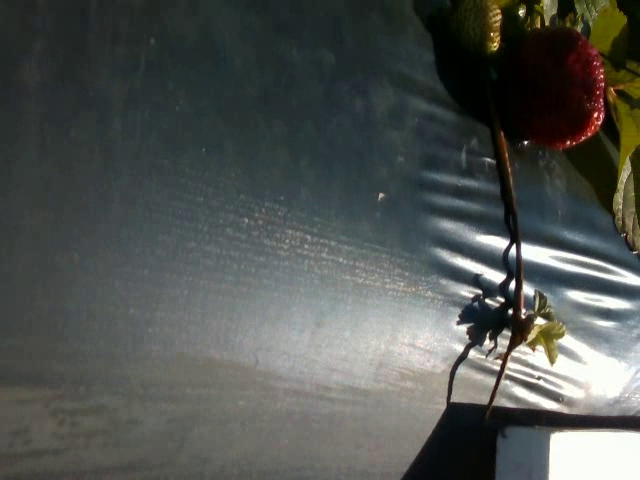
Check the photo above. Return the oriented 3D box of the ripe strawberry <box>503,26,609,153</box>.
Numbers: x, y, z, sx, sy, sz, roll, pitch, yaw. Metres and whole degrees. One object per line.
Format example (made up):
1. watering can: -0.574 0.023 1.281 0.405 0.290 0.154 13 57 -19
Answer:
1. ripe strawberry: 0.078 -0.047 0.203 0.043 0.053 0.041 -42 -48 20
